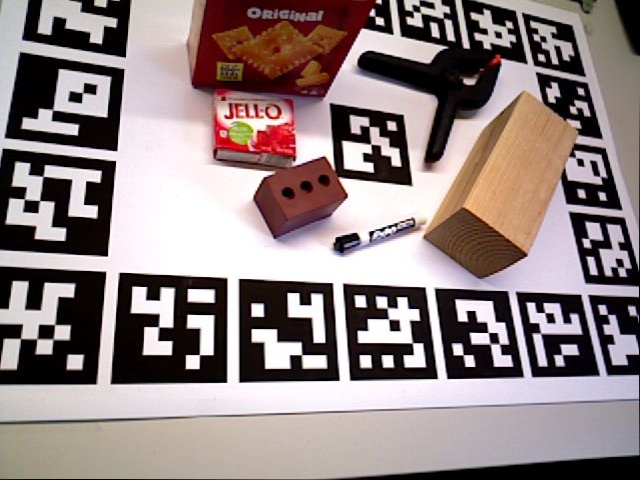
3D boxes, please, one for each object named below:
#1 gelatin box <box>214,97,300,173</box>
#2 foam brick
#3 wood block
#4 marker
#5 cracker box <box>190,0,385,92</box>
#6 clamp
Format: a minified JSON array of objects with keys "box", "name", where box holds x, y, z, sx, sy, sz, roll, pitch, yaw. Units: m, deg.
[{"box":[-0.069,-0.112,0.585,0.088,0.031,0.073,2,72,-19],"name":"gelatin box"},{"box":[-0.020,-0.037,0.560,0.076,0.052,0.053,-23,82,-26],"name":"foam brick"},{"box":[0.217,-0.062,0.638,0.090,0.093,0.202,34,60,-3],"name":"wood block"},{"box":[0.060,0.001,0.593,0.119,0.020,0.019,-18,79,-24],"name":"marker"},{"box":[-0.029,-0.240,0.532,0.162,0.218,0.071,0,69,-22],"name":"cracker box"},{"box":[0.163,-0.197,0.693,0.199,0.037,0.165,-30,84,-26],"name":"clamp"}]
